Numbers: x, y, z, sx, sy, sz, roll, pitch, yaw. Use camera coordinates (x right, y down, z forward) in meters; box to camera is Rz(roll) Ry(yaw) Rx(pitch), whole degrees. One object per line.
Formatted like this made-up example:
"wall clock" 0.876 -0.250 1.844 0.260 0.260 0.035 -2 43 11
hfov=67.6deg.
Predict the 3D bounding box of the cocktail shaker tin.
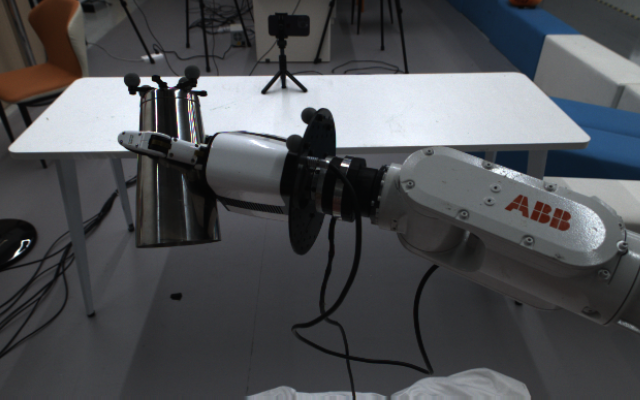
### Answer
"cocktail shaker tin" -0.165 -0.033 0.550 0.093 0.170 0.093 -6 -7 -1
